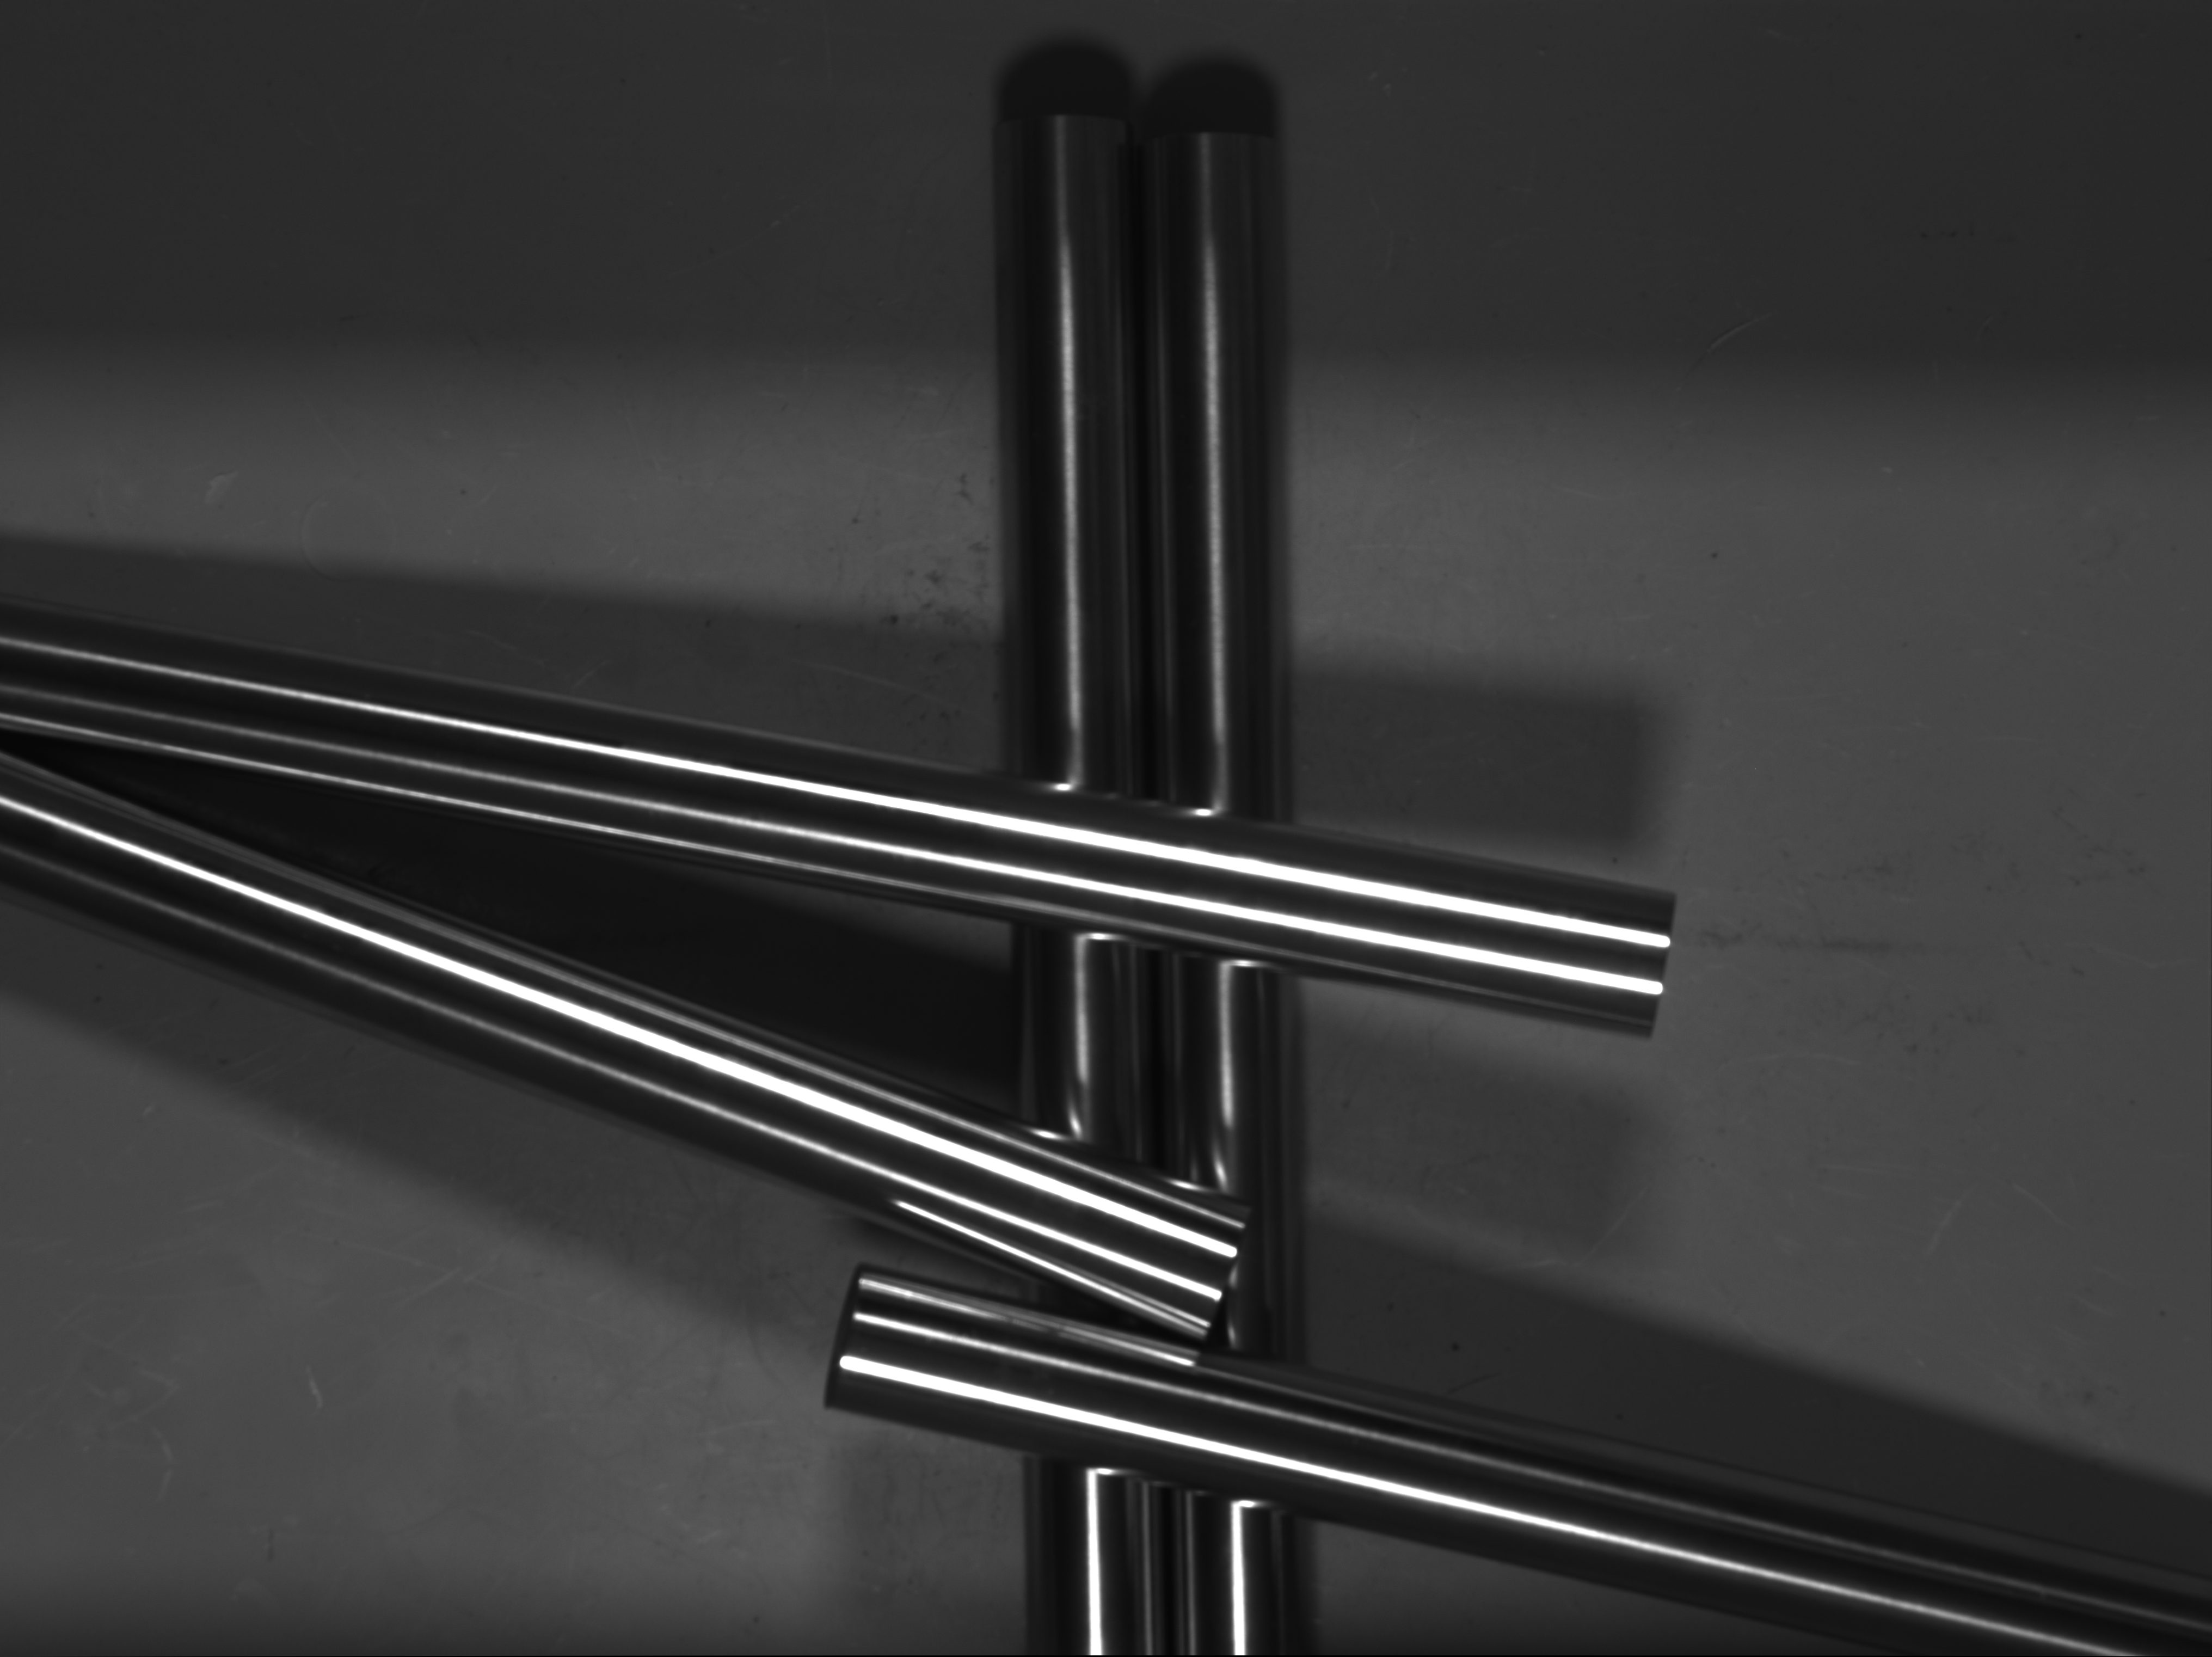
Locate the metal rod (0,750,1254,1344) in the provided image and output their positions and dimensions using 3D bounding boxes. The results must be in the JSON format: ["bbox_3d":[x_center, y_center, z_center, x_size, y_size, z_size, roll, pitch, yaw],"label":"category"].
[{"bbox_3d":[-0.120,0.025,0.630,0.300,0.025,0.025,19,90,5],"label":"metal rod"}]

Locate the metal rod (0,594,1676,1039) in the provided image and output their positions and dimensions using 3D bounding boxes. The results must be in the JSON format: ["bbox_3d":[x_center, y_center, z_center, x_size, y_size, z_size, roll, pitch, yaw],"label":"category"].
[{"bbox_3d":[-0.054,-0.004,0.624,0.300,0.025,0.025,10,90,7],"label":"metal rod"}]

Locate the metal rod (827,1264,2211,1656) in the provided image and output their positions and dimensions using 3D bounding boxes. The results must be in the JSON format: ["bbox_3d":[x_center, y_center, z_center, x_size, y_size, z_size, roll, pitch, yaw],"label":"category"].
[{"bbox_3d":[0.101,0.121,0.628,0.300,0.025,0.025,14,90,-6],"label":"metal rod"}]

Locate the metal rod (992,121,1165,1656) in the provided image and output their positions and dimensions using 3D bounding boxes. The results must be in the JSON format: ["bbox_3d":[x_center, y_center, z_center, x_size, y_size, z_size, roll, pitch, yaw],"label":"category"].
[{"bbox_3d":[-0.005,0.028,0.642,0.025,0.025,0.300,-1,90,0],"label":"metal rod"}]

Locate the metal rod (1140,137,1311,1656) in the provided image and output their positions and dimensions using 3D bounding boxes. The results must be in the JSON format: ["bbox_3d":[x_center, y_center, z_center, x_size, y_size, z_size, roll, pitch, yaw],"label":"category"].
[{"bbox_3d":[0.021,0.031,0.643,0.025,0.025,0.300,-1,90,0],"label":"metal rod"}]
